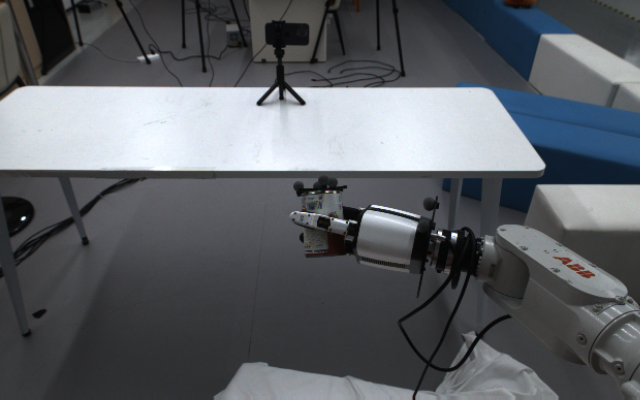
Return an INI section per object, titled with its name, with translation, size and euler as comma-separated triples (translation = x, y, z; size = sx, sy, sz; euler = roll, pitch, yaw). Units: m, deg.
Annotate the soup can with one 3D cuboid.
[soup can]
translation = 0.006, 0.040, 0.771
size = 0.067, 0.101, 0.067
euler = -5, -5, 0
